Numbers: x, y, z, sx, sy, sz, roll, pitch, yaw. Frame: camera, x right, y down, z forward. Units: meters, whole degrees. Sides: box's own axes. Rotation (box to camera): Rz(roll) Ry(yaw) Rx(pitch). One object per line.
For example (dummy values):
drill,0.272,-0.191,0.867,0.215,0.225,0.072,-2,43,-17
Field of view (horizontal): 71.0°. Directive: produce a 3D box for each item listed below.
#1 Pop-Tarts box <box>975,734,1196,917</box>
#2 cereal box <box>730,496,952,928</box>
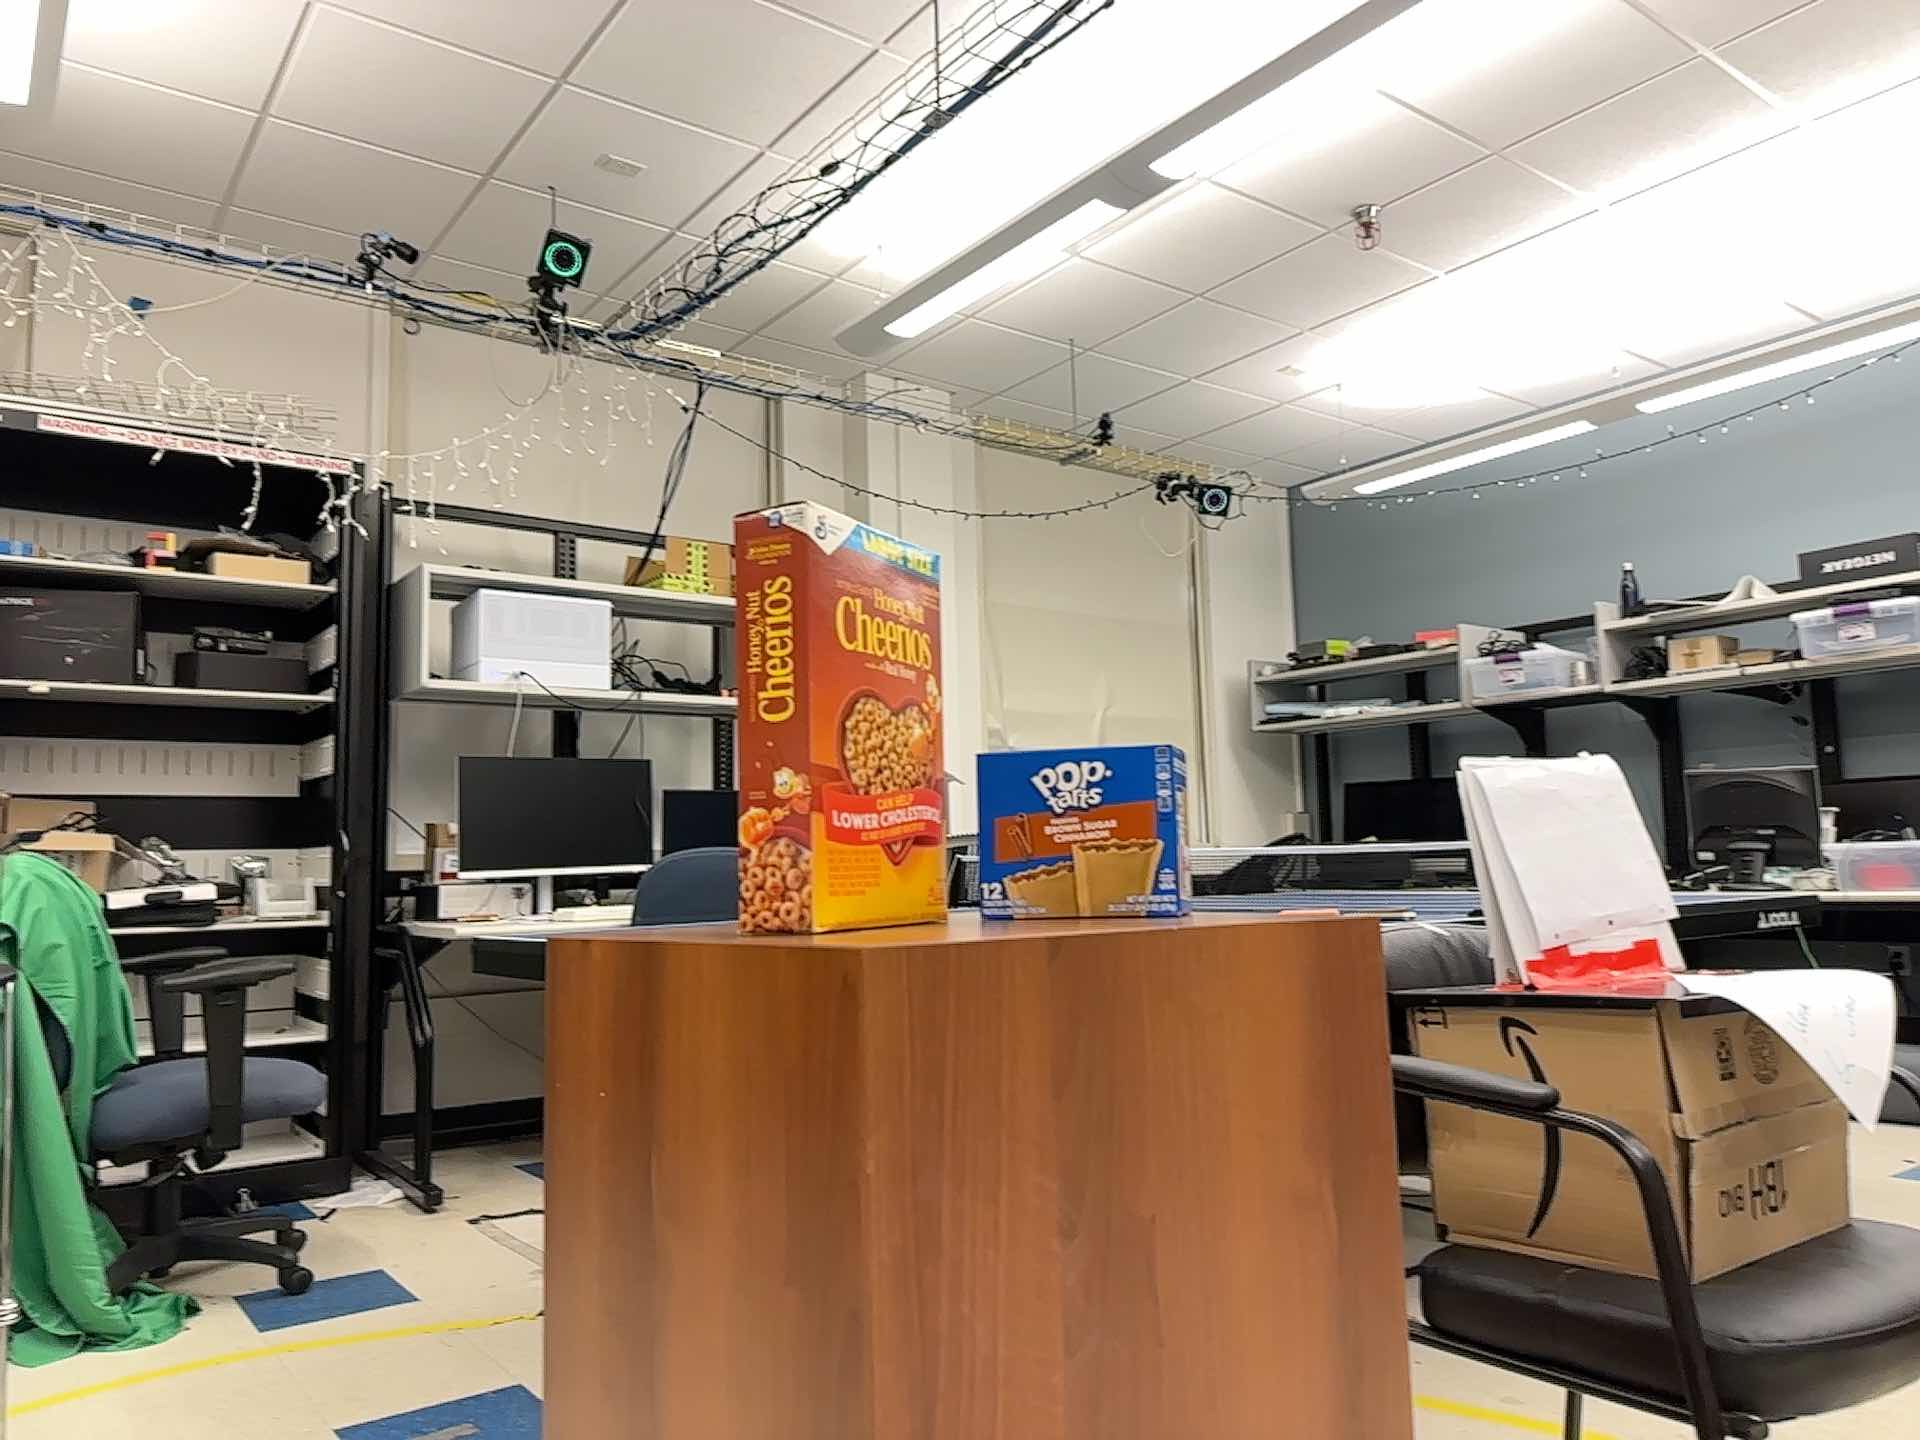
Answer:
Pop-Tarts box,0.104,0.090,1.121,0.161,0.135,0.075,-4,-9,15
cereal box,-0.086,0.002,1.026,0.065,0.297,0.195,-5,-8,24
